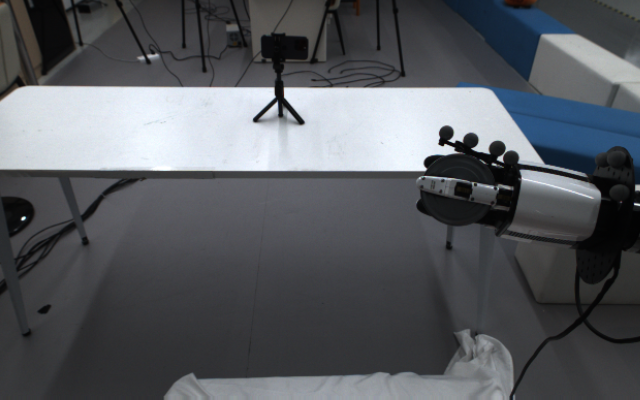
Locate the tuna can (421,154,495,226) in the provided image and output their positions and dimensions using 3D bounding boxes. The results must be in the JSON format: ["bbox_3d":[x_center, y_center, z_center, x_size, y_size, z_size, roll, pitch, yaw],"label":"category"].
[{"bbox_3d":[0.168,-0.014,0.583,0.085,0.085,0.034,13,2,16],"label":"tuna can"}]
